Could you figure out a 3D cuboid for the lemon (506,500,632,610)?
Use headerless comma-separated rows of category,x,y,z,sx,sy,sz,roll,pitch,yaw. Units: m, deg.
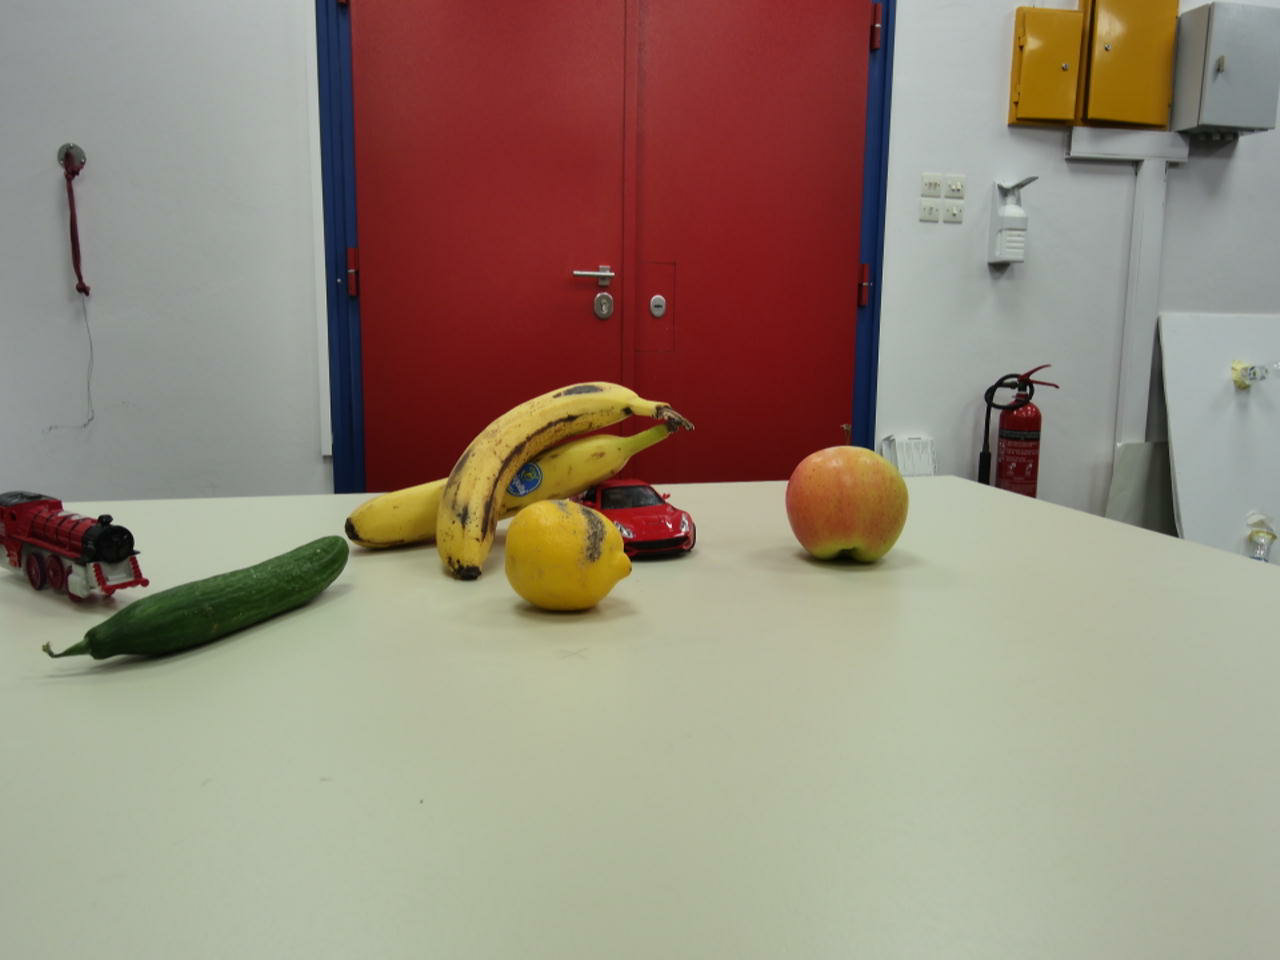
lemon,-0.040,0.039,0.515,0.061,0.056,0.058,-2,7,-21
